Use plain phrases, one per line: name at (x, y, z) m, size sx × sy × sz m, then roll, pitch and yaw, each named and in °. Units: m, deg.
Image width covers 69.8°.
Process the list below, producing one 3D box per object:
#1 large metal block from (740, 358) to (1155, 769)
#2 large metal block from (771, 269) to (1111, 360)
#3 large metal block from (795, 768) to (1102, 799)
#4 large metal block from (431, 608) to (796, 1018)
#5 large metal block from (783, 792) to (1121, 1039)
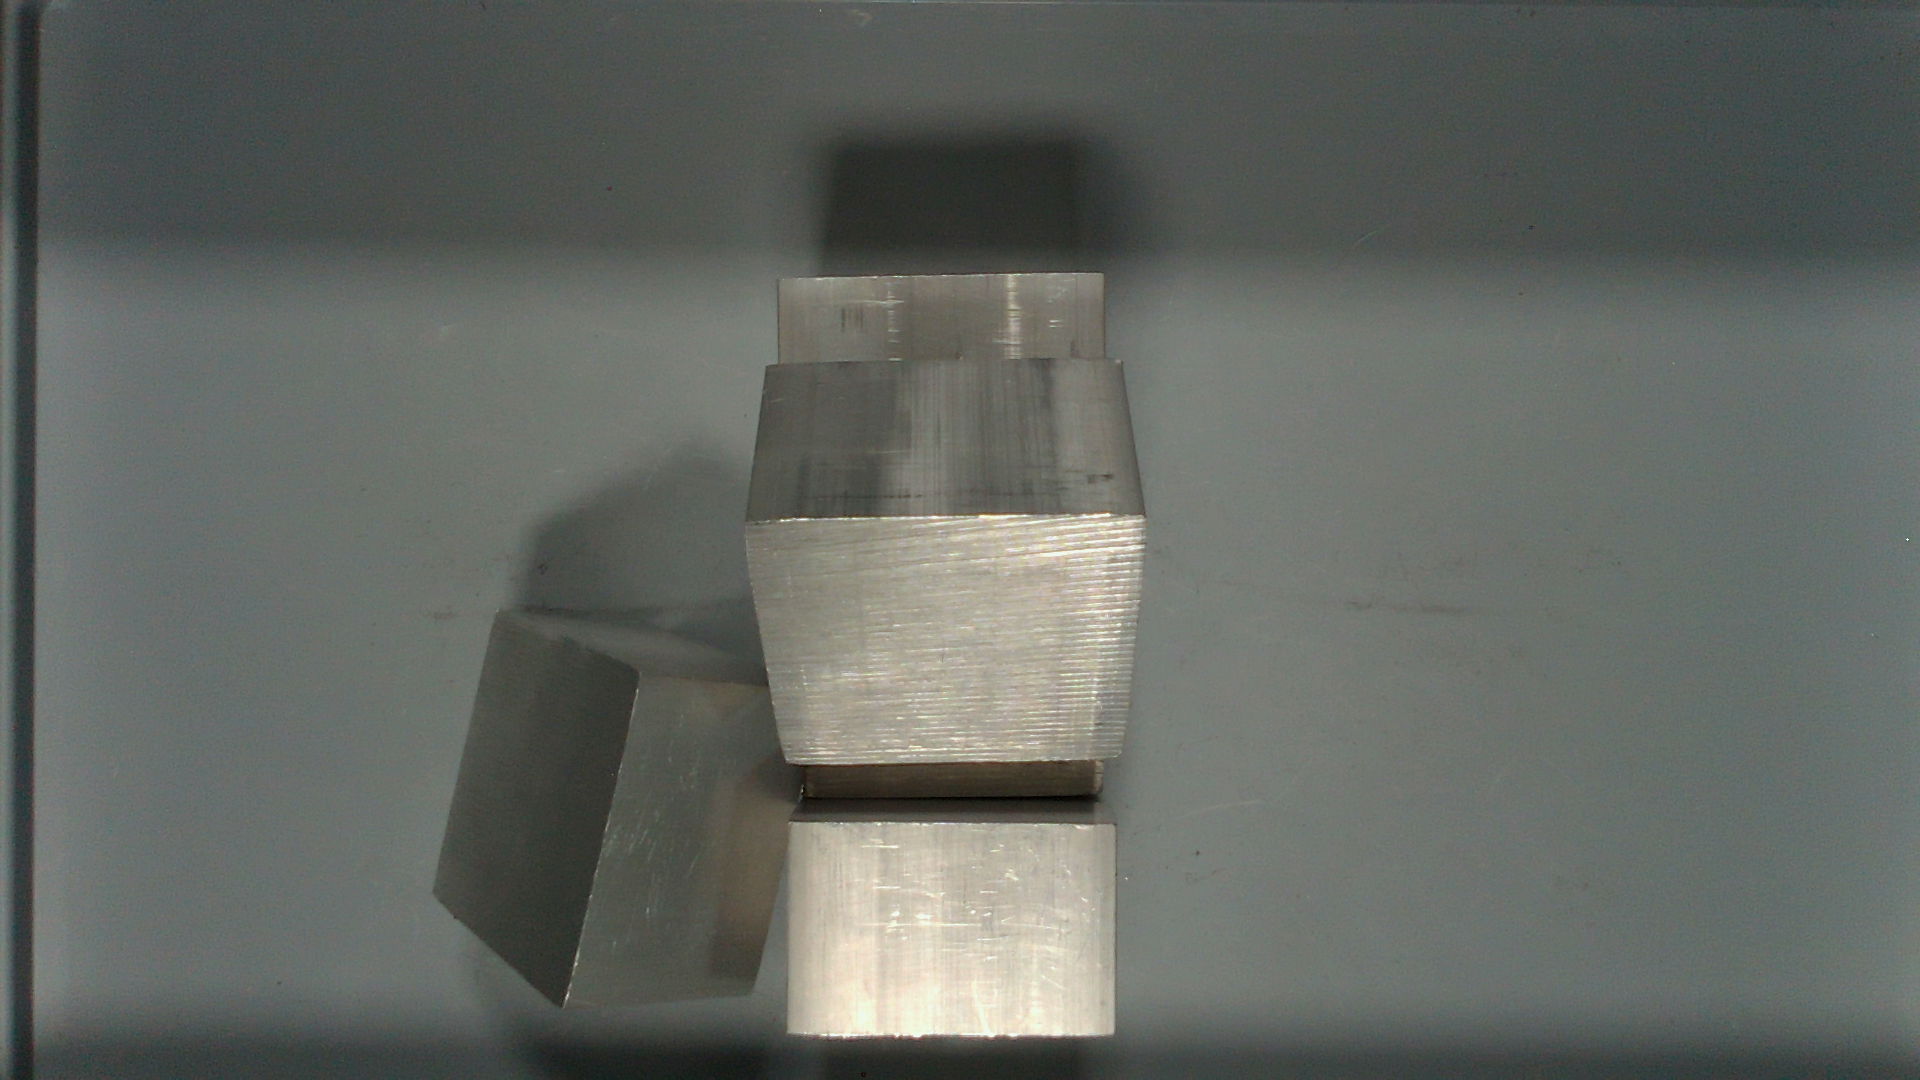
large metal block at (-0.002, 0.007, 0.311) m, size 0.080 × 0.080 × 0.050 m, roll -1°, pitch 45°, yaw 0°
large metal block at (-0.004, -0.039, 0.366) m, size 0.080 × 0.080 × 0.050 m, roll -1°, pitch 90°, yaw 0°
large metal block at (-0.003, 0.027, 0.383) m, size 0.080 × 0.050 × 0.080 m, roll -1°, pitch 90°, yaw 0°
large metal block at (-0.090, 0.067, 0.358) m, size 0.050 × 0.080 × 0.080 m, roll 12°, pitch 91°, yaw -43°
large metal block at (-0.002, 0.093, 0.366) m, size 0.080 × 0.080 × 0.050 m, roll 0°, pitch 90°, yaw 0°
